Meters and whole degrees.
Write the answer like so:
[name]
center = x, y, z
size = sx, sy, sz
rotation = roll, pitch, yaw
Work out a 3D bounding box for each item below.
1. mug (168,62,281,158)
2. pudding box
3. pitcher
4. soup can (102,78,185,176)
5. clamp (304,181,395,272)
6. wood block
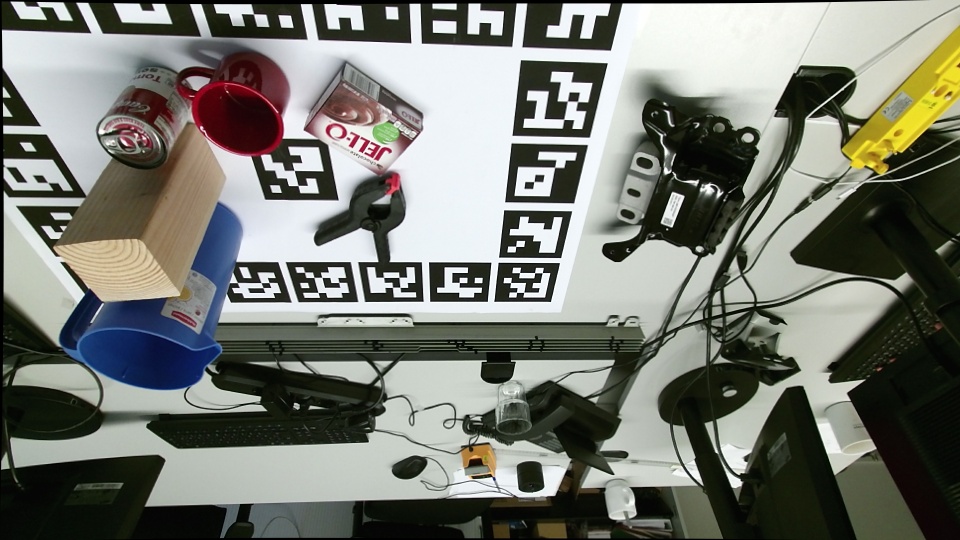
[mug]
center = -0.283, -0.185, 0.600
size = 0.117, 0.081, 0.093
rotation = 26, 131, -30
[pudding box]
center = -0.145, -0.171, 0.662
size = 0.114, 0.038, 0.090
rotation = 28, 125, -31
[pitcher]
center = -0.423, 0.033, 0.703
size = 0.189, 0.241, 0.133
rotation = -3, 139, -6
[soup can]
center = -0.376, -0.161, 0.599
size = 0.068, 0.101, 0.068
rotation = -3, 134, -3
[clamp]
center = -0.174, -0.064, 0.781
size = 0.122, 0.036, 0.165
rotation = 26, 129, -19
[wood block]
center = -0.394, -0.062, 0.627
size = 0.090, 0.205, 0.091
rotation = -1, 137, 0
